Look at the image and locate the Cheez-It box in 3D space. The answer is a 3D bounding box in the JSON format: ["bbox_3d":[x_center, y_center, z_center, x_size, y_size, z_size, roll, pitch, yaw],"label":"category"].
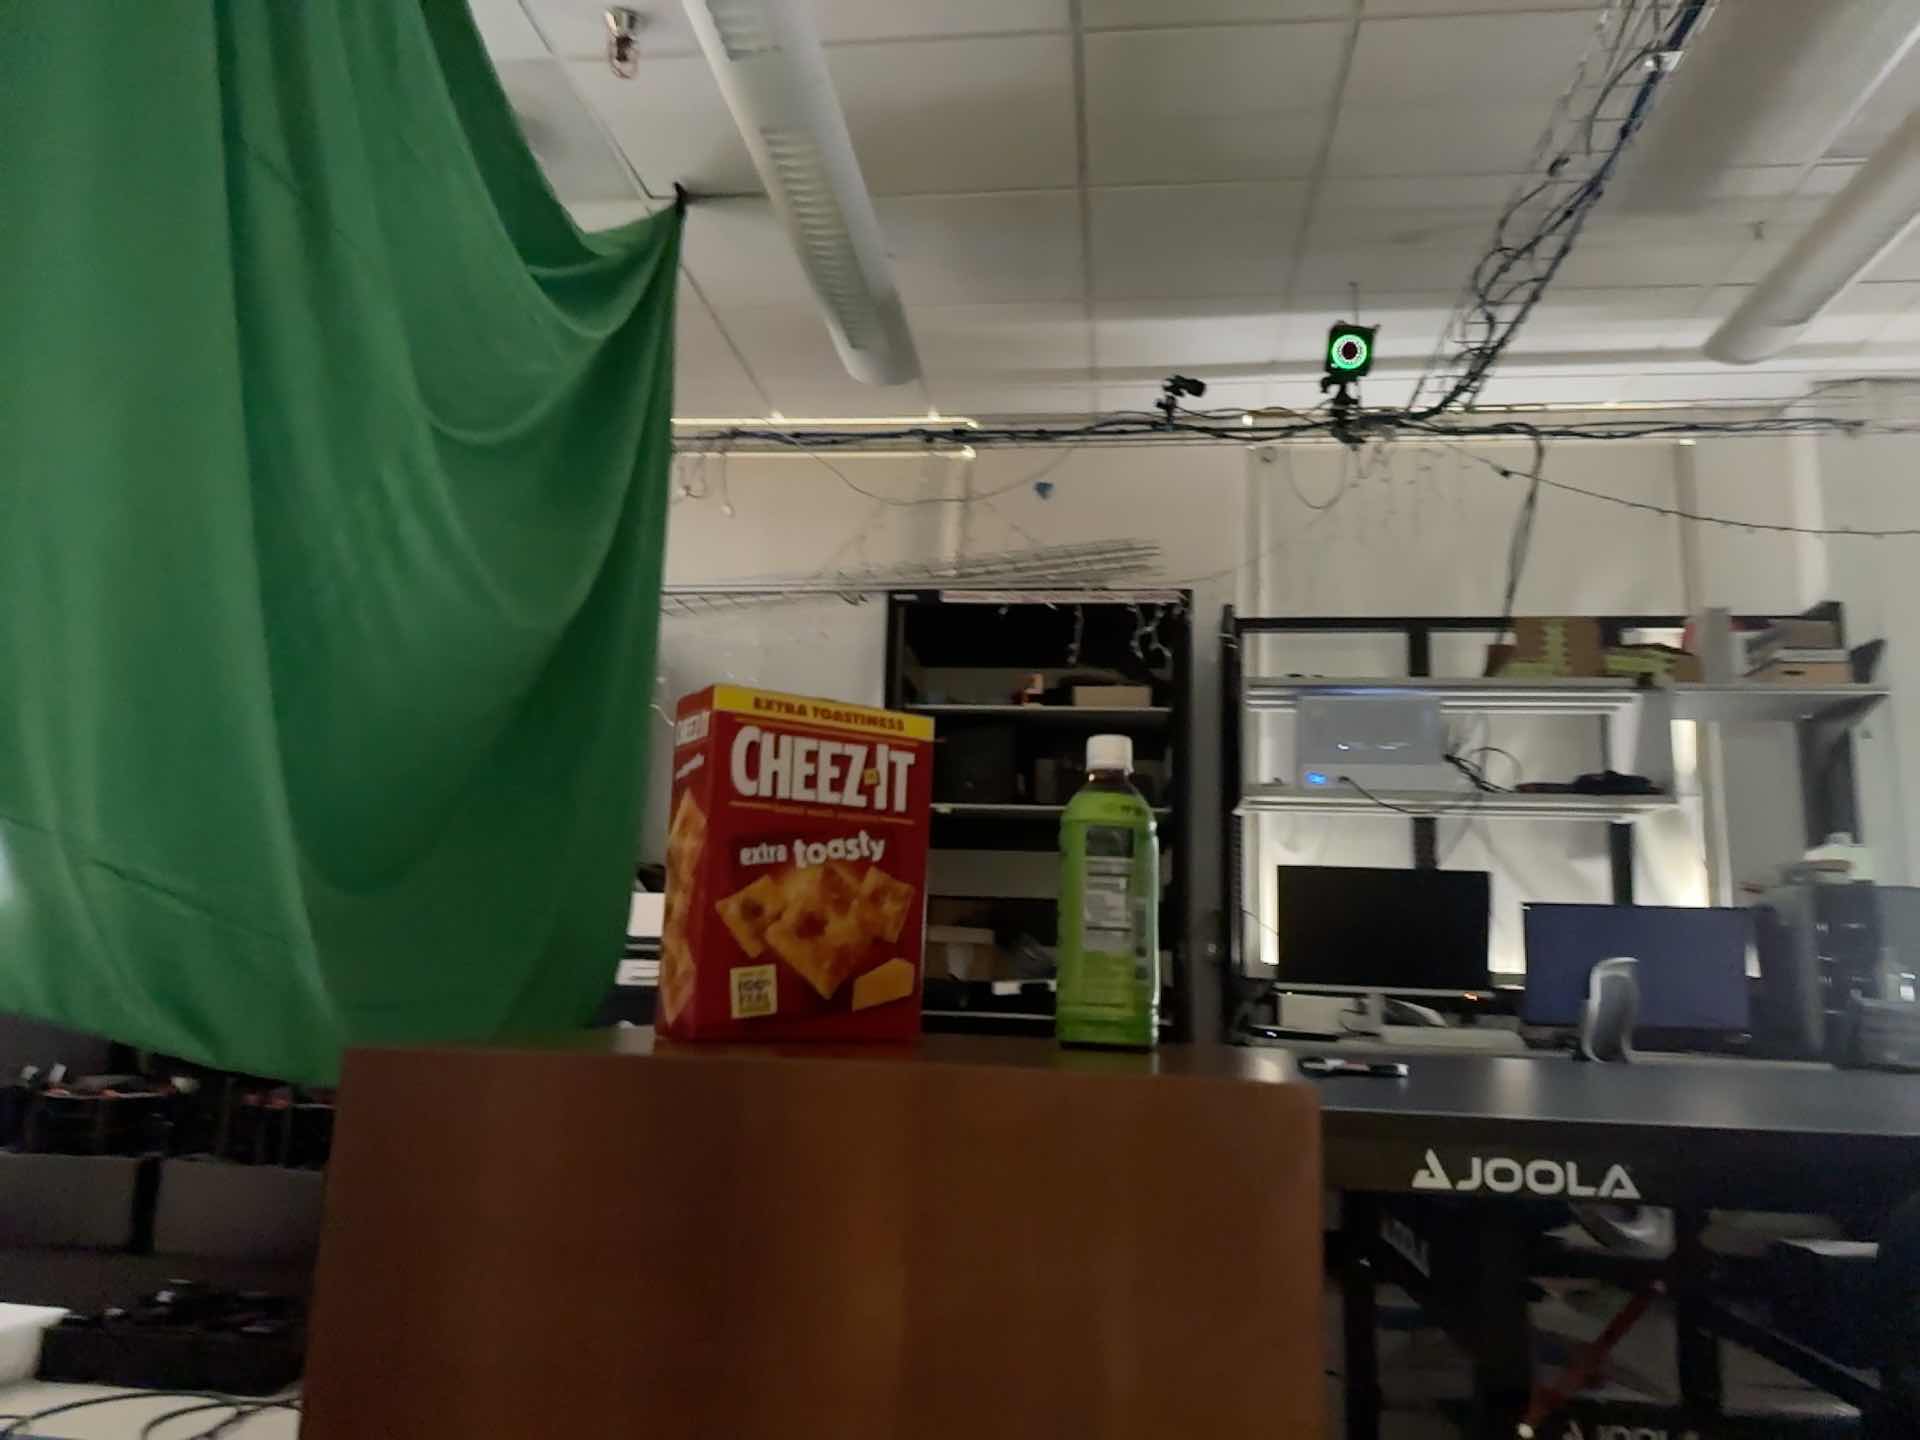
[{"bbox_3d":[-0.102,0.099,0.865,0.159,0.214,0.062,8,-10,-35],"label":"Cheez-It box"}]

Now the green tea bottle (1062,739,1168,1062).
[{"bbox_3d":[0.105,0.119,0.902,0.073,0.212,0.073,3,-9,1],"label":"green tea bottle"}]
